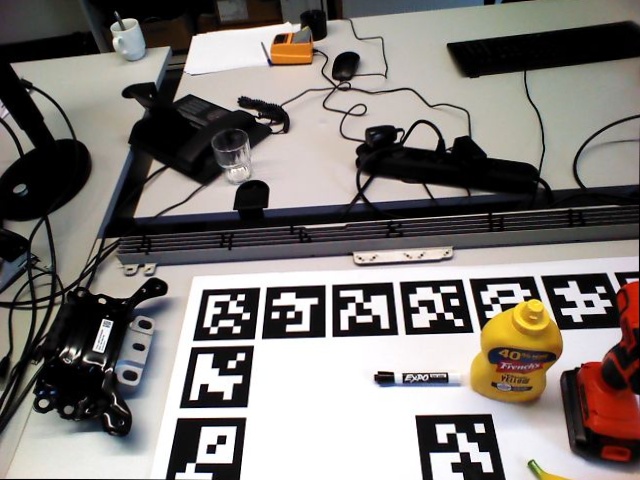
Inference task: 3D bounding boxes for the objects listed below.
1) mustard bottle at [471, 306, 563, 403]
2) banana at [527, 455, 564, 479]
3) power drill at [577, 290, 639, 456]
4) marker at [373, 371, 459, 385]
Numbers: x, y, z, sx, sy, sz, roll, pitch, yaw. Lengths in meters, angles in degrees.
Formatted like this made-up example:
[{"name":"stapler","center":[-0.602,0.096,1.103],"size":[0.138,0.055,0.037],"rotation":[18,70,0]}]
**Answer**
[{"name":"mustard bottle","center":[0.255,0.144,0.663],"size":[0.096,0.192,0.058],"rotation":[6,51,12]},{"name":"banana","center":[0.355,0.305,0.615],"size":[0.198,0.039,0.074],"rotation":[2,52,12]},{"name":"power drill","center":[0.357,0.176,0.598],"size":[0.057,0.187,0.183],"rotation":[9,49,13]},{"name":"marker","center":[0.138,0.199,0.747],"size":[0.121,0.020,0.019],"rotation":[-2,50,7]}]
